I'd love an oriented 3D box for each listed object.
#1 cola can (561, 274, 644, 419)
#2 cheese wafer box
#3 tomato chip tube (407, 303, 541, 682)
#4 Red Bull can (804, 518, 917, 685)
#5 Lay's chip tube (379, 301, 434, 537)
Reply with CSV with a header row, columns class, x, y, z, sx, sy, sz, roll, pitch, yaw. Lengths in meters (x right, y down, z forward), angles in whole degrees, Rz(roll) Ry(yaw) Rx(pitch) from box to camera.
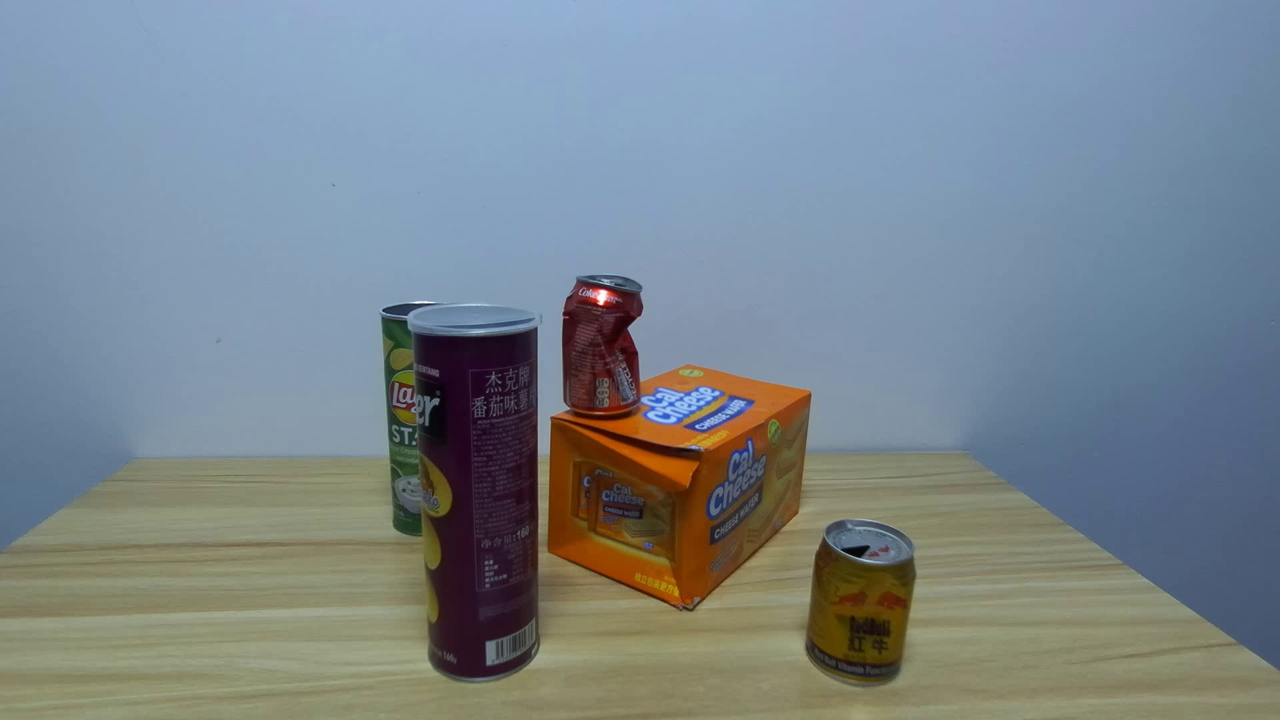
class,x,y,z,sx,sy,sz,roll,pitch,yaw
cola can,-0.030,-0.012,0.582,0.069,0.112,0.065,-8,16,-37
cheese wafer box,0.043,0.096,0.641,0.149,0.137,0.228,13,18,33
tomato chip tube,-0.103,0.087,0.462,0.078,0.233,0.078,2,15,0
Red Bull can,0.151,0.164,0.485,0.069,0.092,0.069,3,15,0
Lay's chip tube,-0.195,0.054,0.648,0.071,0.202,0.071,1,12,0
